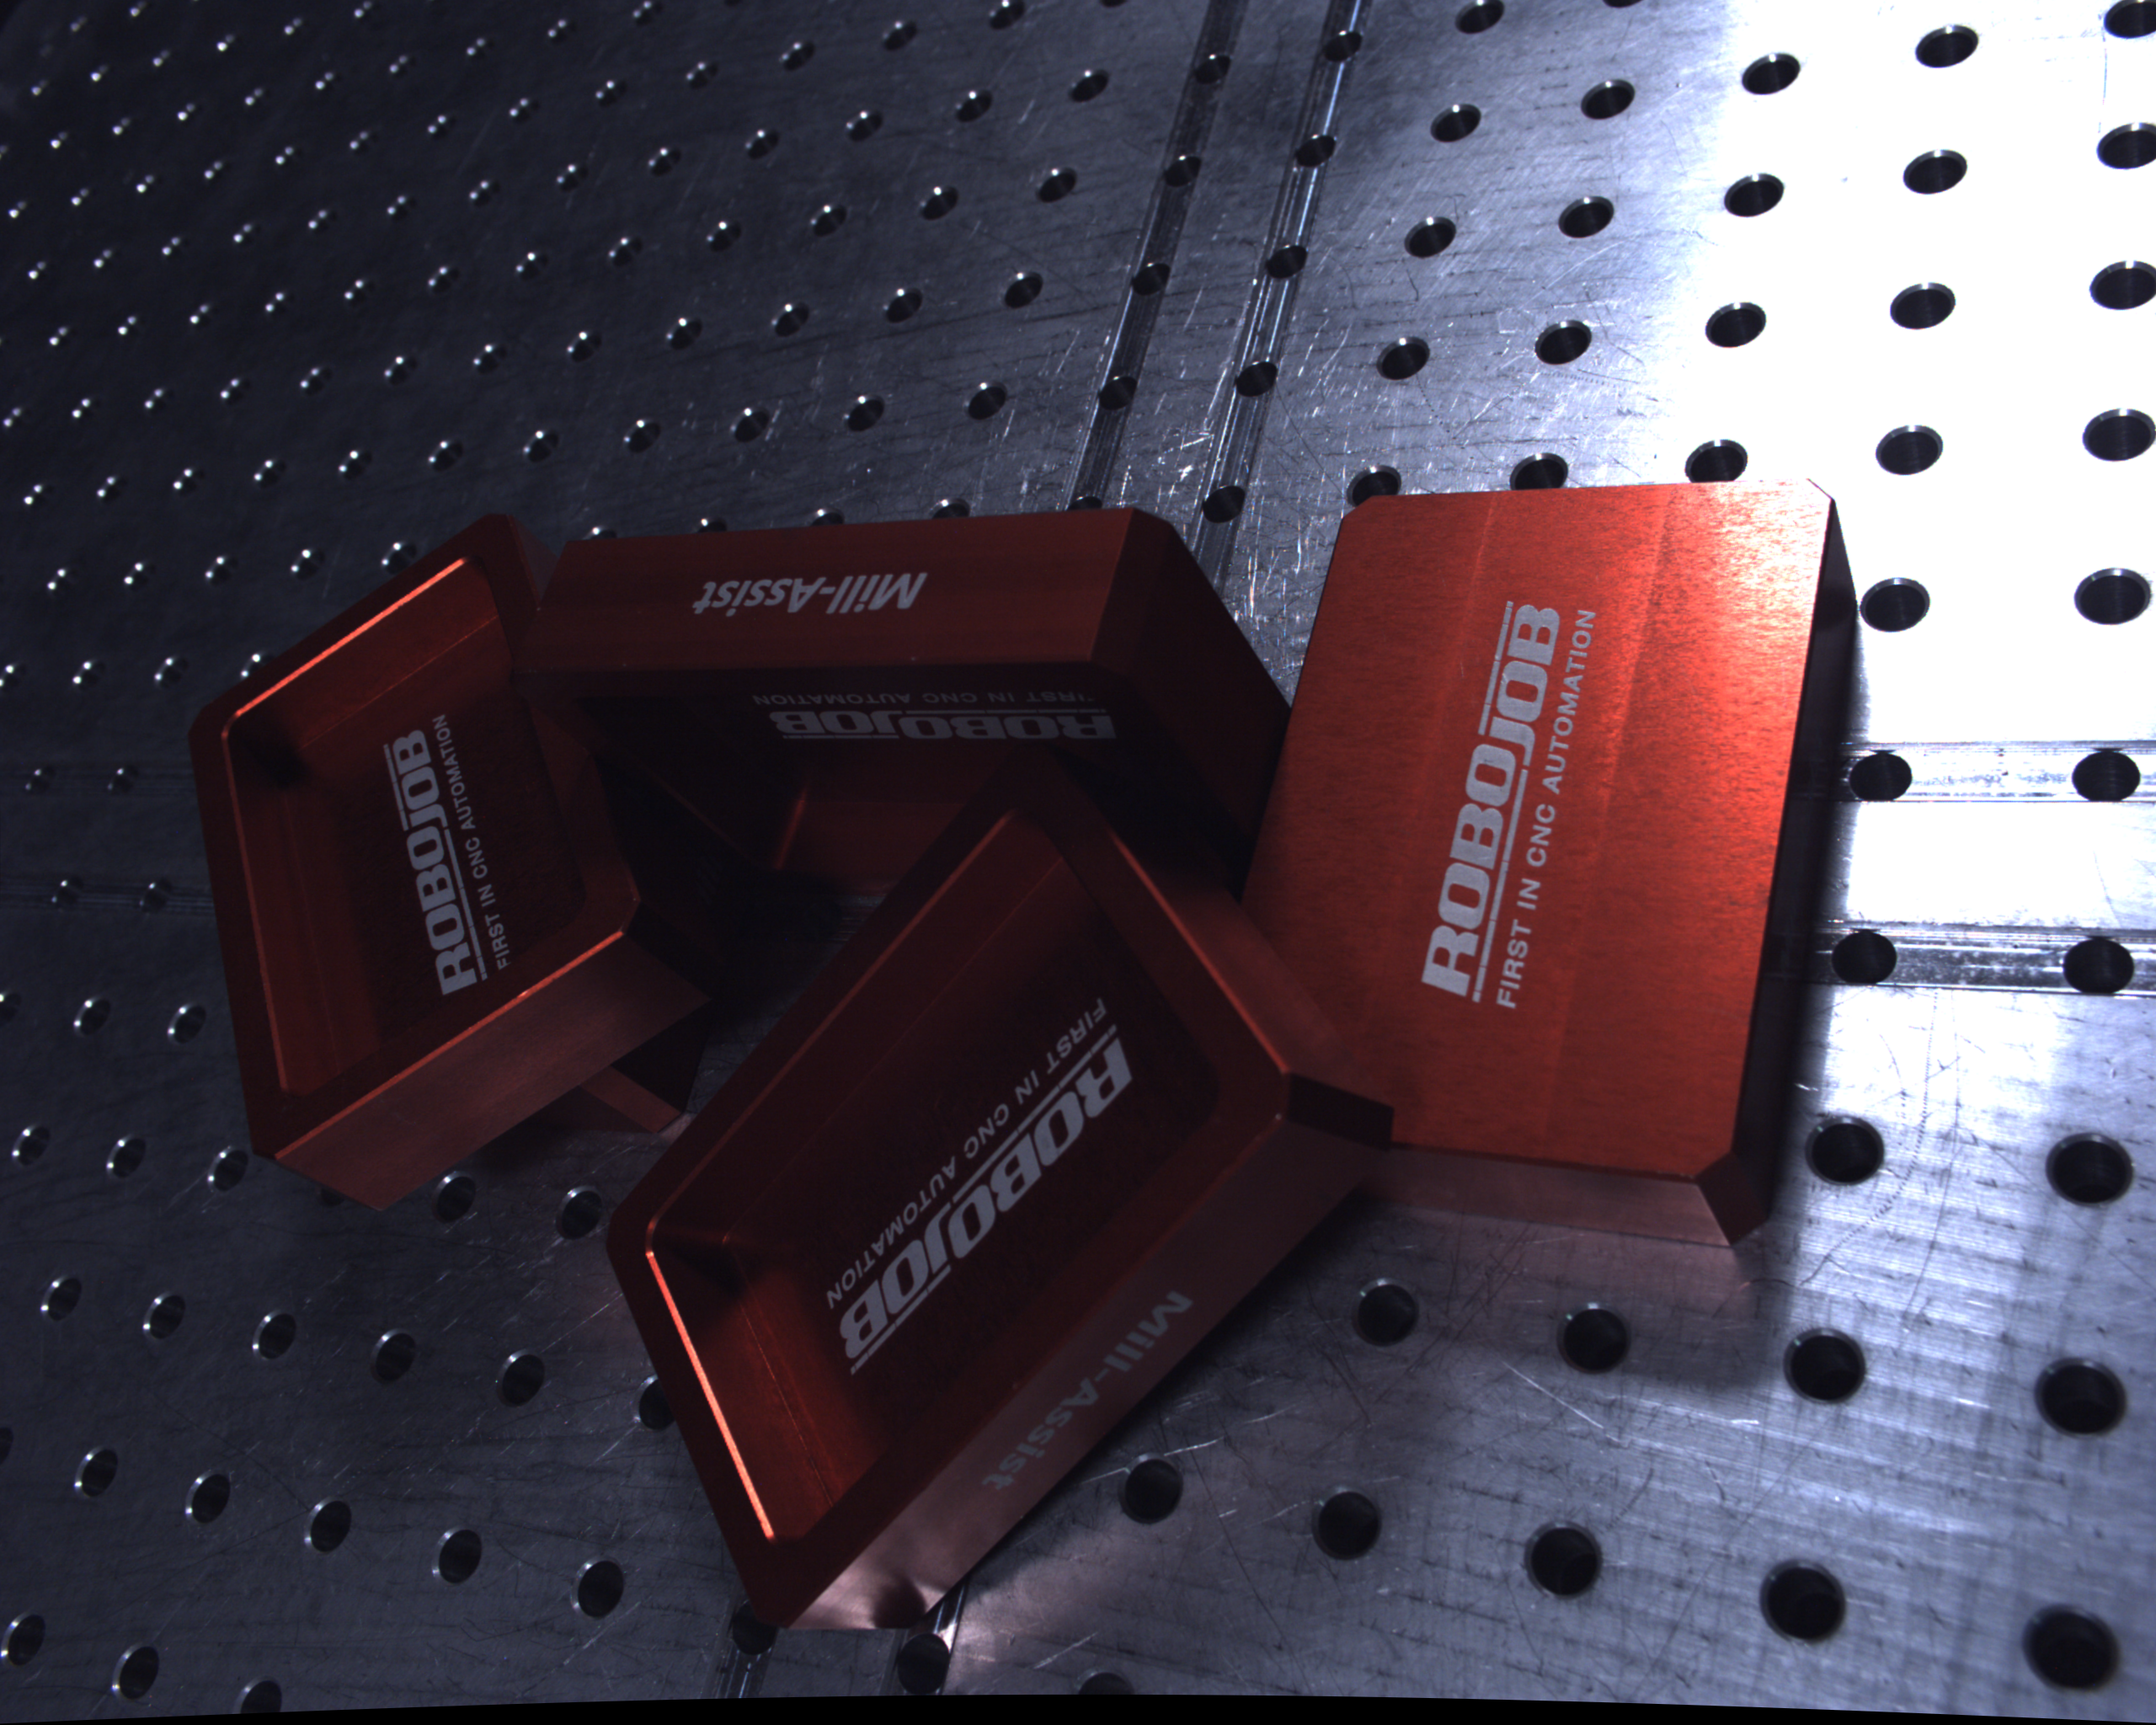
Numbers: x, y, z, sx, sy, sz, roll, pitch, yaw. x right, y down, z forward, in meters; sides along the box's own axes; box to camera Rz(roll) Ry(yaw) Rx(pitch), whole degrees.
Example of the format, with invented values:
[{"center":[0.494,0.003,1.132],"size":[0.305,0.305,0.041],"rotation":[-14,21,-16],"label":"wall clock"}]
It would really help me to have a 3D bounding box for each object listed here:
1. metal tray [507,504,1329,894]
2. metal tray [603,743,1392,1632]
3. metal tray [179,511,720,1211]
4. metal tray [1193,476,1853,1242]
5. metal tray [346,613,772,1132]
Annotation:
[{"center":[-0.029,-0.026,0.395],"size":[0.130,0.090,0.030],"rotation":[2,63,28],"label":"metal tray"},{"center":[-0.020,0.055,0.356],"size":[0.130,0.030,0.090],"rotation":[-48,50,16],"label":"metal tray"},{"center":[-0.135,-0.004,0.436],"size":[0.090,0.030,0.130],"rotation":[-32,52,6],"label":"metal tray"},{"center":[0.079,-0.005,0.365],"size":[0.090,0.030,0.130],"rotation":[3,63,29],"label":"metal tray"},{"center":[-0.116,-0.007,0.468],"size":[0.090,0.030,0.130],"rotation":[-1,62,27],"label":"metal tray"}]
